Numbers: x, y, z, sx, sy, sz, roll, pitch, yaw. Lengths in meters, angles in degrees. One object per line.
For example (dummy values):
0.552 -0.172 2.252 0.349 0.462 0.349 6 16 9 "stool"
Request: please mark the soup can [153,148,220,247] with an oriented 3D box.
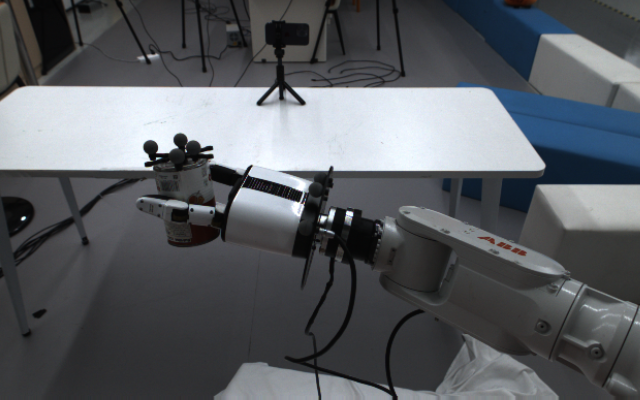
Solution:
-0.164 0.001 0.603 0.067 0.101 0.067 -4 21 1 "soup can"
